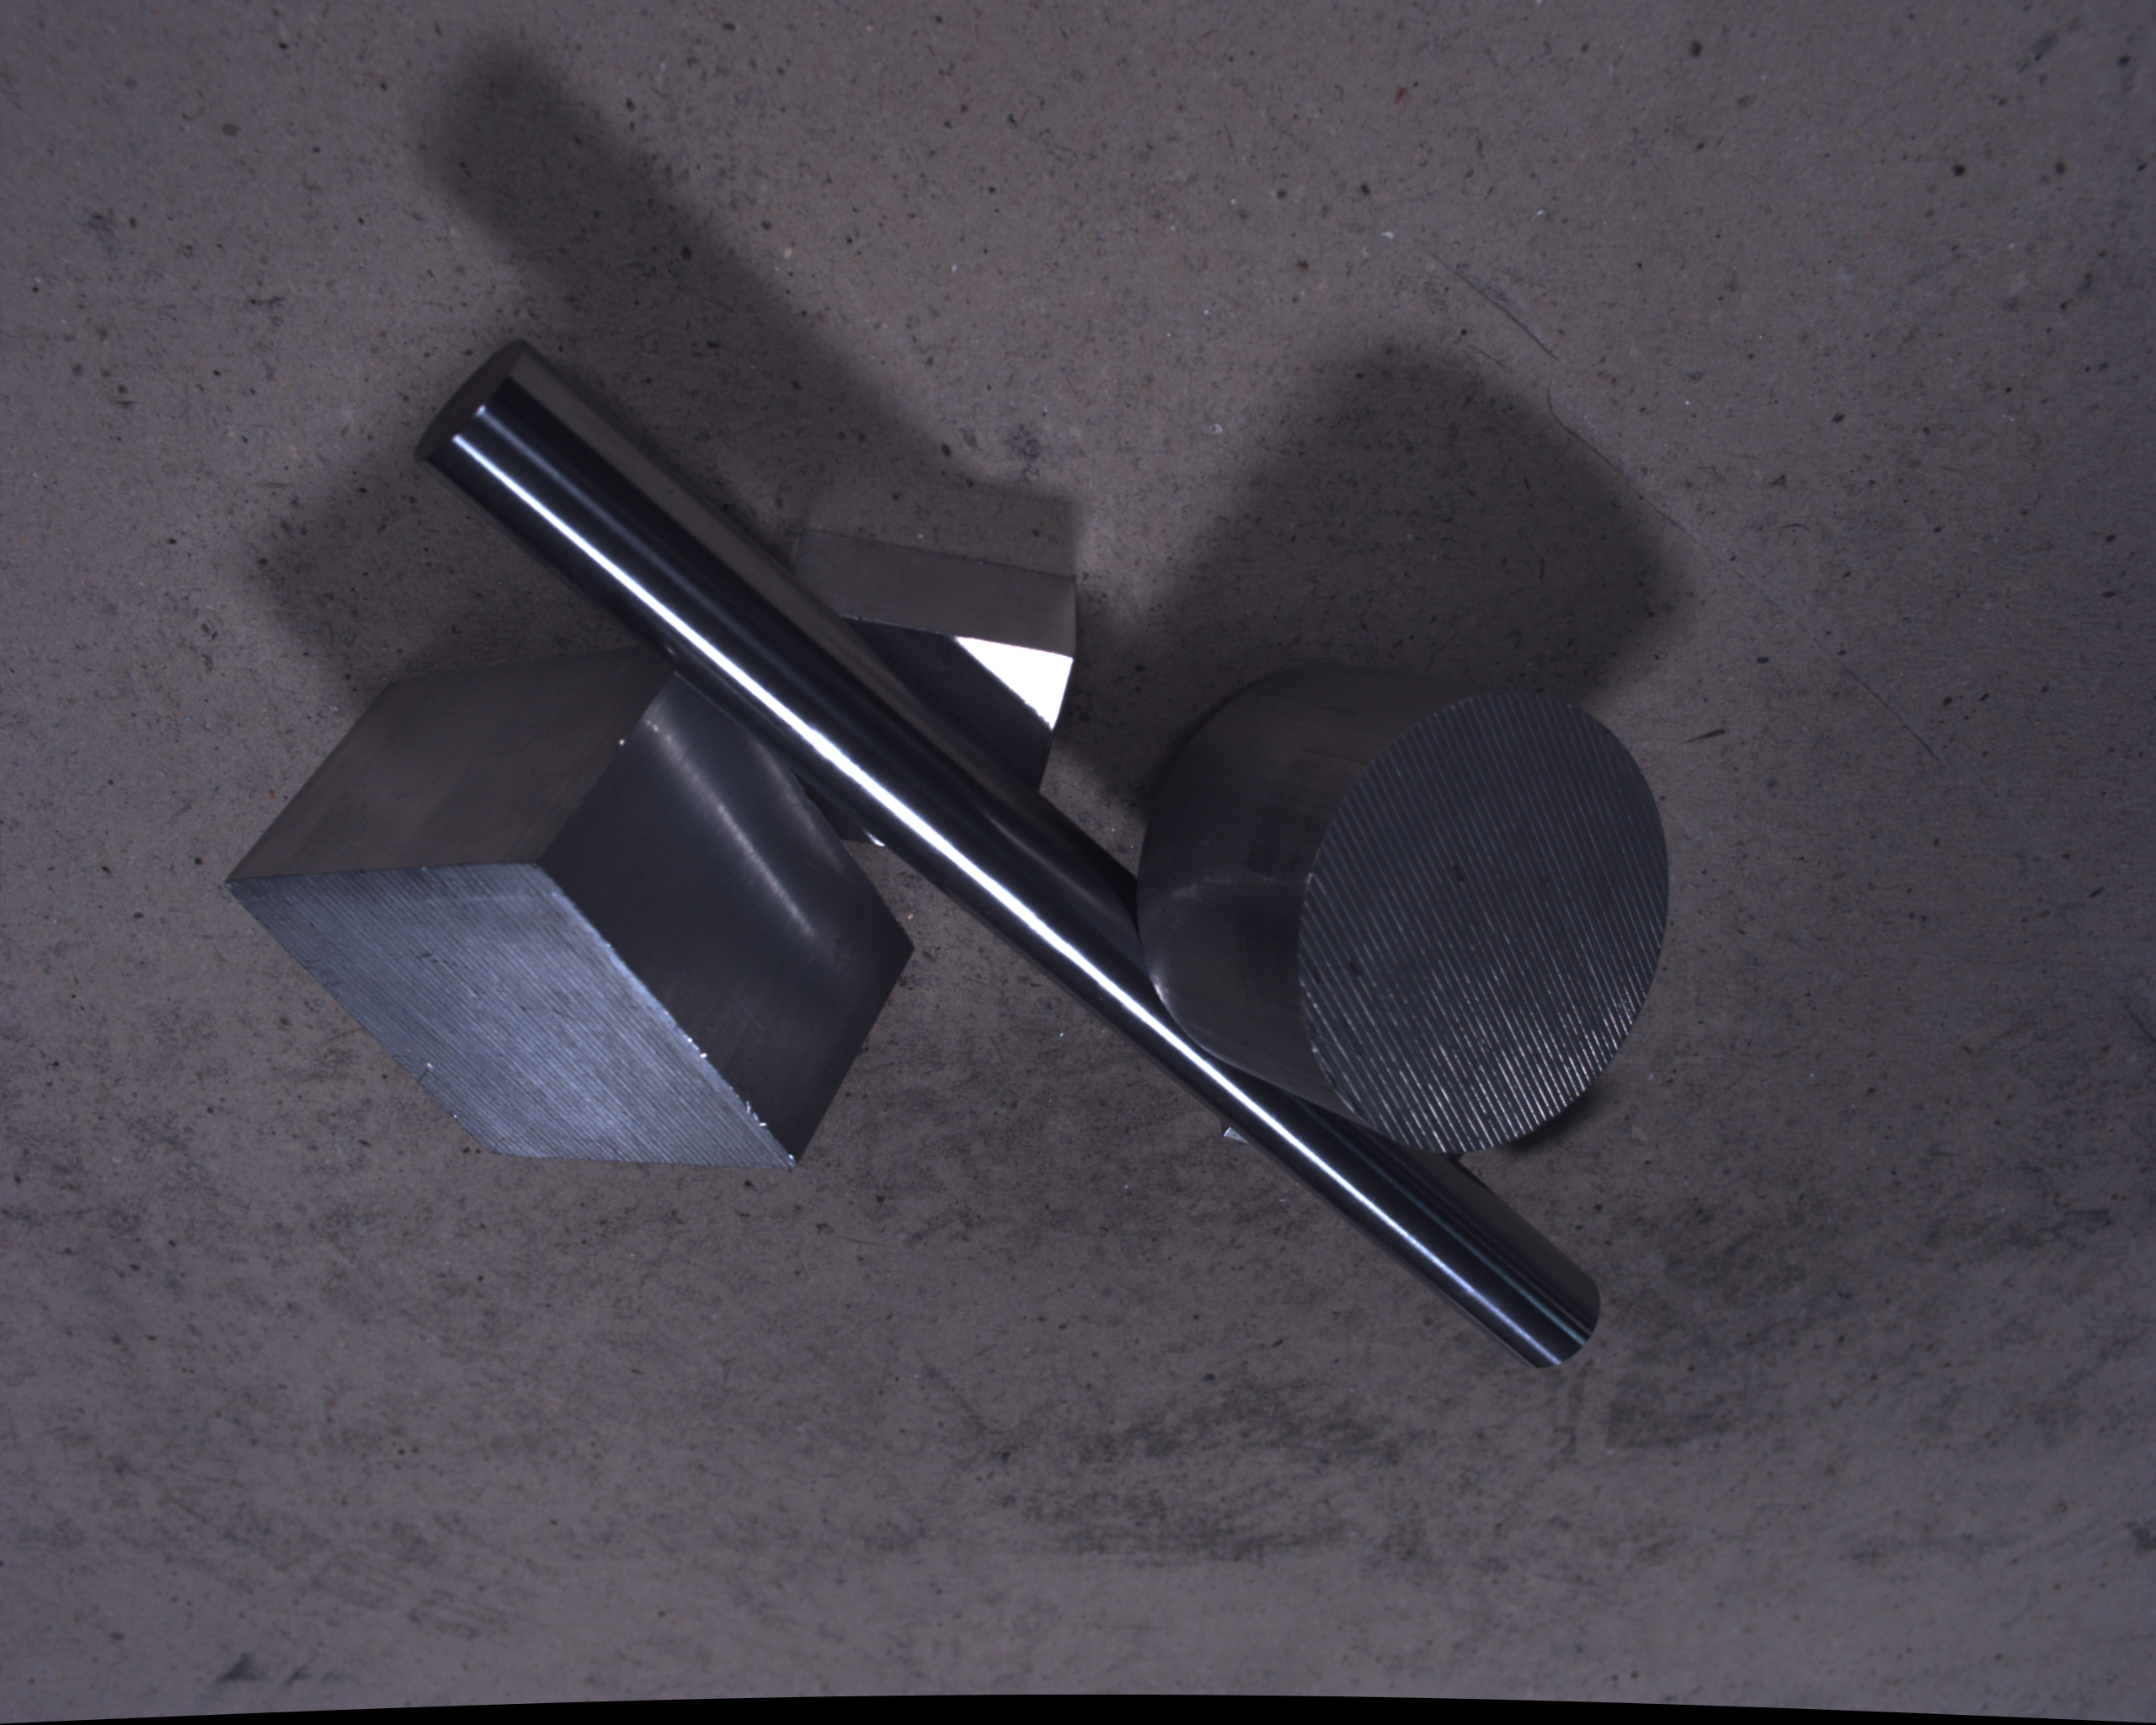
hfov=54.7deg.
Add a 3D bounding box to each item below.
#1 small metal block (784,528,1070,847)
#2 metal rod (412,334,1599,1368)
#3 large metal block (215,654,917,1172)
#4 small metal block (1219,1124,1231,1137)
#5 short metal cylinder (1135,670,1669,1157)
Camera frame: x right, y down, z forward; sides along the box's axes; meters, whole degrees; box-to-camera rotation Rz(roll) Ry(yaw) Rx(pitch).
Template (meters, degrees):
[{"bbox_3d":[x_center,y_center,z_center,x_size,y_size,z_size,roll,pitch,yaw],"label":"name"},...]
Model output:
[{"bbox_3d":[-0.031,-0.029,0.384,0.050,0.025,0.050,9,130,-9],"label":"small metal block"},{"bbox_3d":[0.006,0.015,0.389,0.025,0.025,0.300,-34,123,25],"label":"metal rod"},{"bbox_3d":[-0.090,0.011,0.379,0.080,0.050,0.080,-3,136,33],"label":"large metal block"},{"bbox_3d":[0.063,0.040,0.445,0.050,0.025,0.050,19,128,-16],"label":"small metal block"},{"bbox_3d":[0.058,0.007,0.373,0.081,0.050,0.079,-6,103,-29],"label":"short metal cylinder"}]
